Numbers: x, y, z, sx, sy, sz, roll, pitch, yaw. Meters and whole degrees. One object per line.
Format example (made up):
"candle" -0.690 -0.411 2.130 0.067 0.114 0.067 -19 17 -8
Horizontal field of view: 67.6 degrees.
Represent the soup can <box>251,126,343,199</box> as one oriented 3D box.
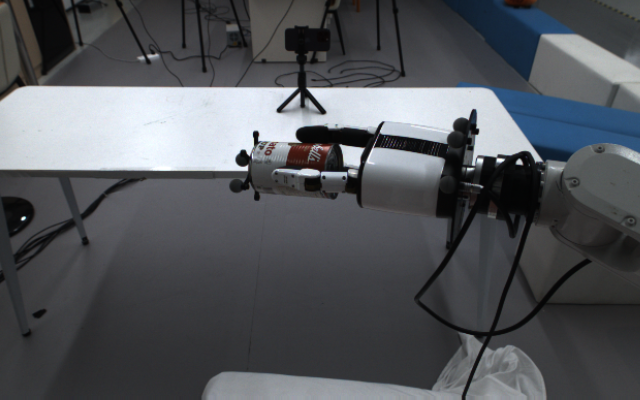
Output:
"soup can" -0.027 -0.038 0.601 0.101 0.067 0.067 5 34 18
